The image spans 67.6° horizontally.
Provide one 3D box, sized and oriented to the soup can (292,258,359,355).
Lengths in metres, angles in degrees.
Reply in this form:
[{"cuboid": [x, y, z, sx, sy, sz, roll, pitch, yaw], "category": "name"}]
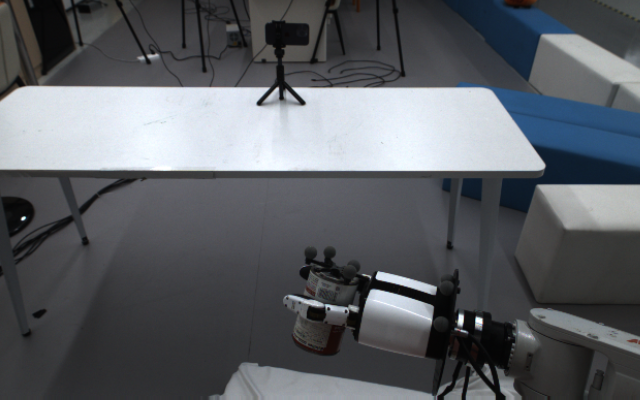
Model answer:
[{"cuboid": [0.009, 0.145, 0.641, 0.067, 0.101, 0.067, 15, 7, -2], "category": "soup can"}]
